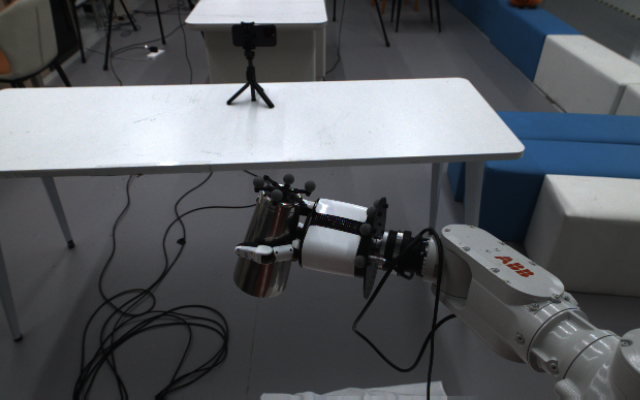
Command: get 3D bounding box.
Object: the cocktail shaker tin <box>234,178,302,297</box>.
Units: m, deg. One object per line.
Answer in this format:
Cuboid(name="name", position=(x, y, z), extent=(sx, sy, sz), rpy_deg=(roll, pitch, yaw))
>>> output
Cuboid(name="cocktail shaker tin", position=(-0.078, 0.061, 0.777), extent=(0.093, 0.170, 0.093), rpy_deg=(12, 29, -7))
